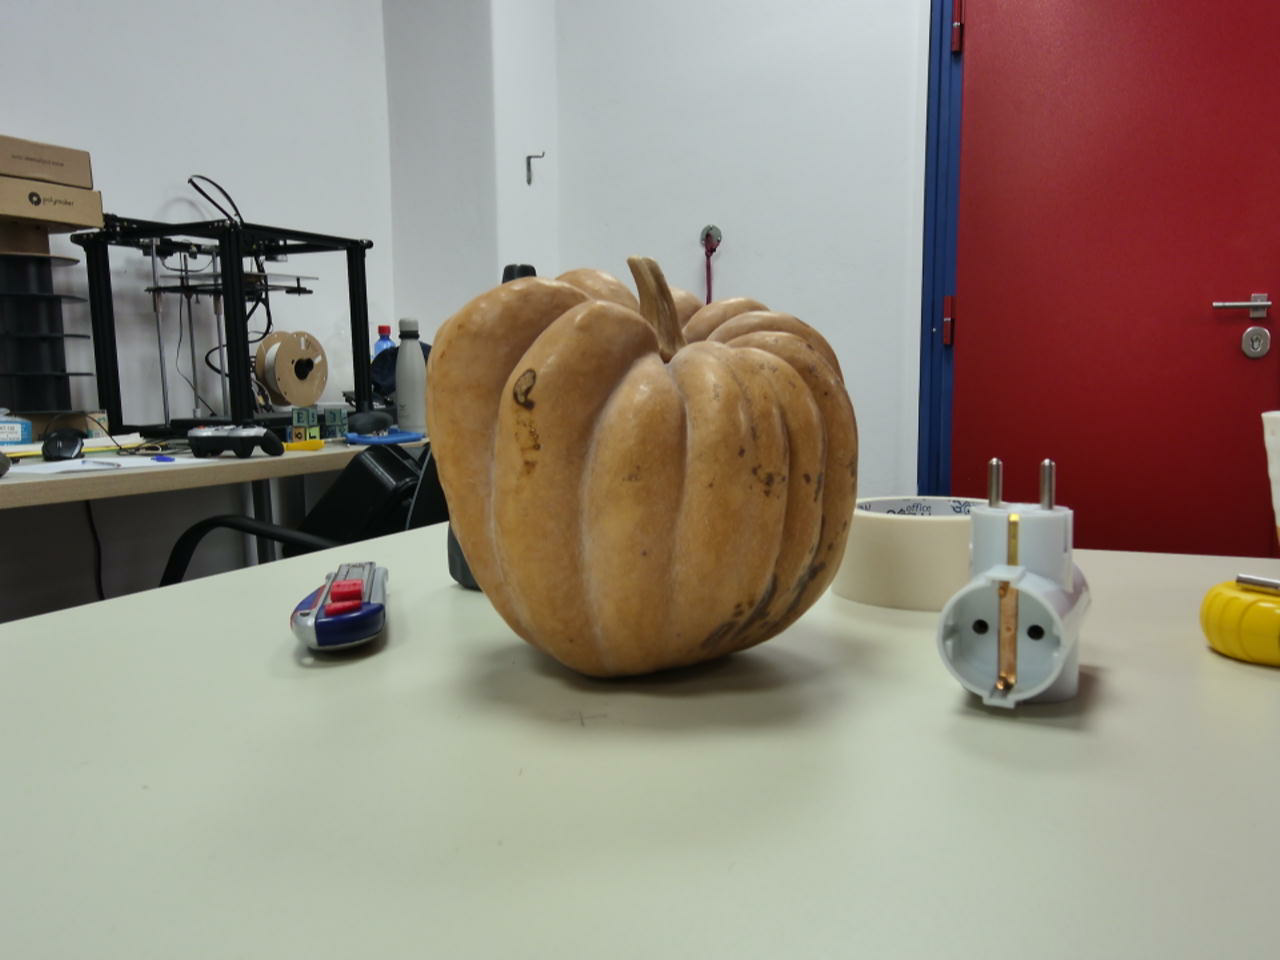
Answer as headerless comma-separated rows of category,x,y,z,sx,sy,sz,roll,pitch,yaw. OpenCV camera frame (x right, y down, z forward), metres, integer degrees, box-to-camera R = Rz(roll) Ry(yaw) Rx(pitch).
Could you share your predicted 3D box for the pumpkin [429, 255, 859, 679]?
pumpkin,0.000,-0.008,0.443,0.199,0.177,0.198,0,4,0
